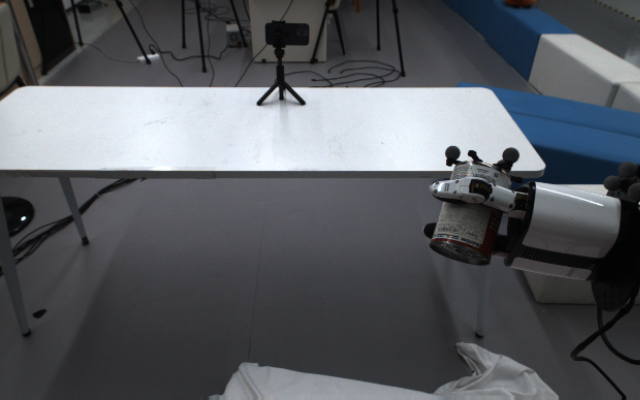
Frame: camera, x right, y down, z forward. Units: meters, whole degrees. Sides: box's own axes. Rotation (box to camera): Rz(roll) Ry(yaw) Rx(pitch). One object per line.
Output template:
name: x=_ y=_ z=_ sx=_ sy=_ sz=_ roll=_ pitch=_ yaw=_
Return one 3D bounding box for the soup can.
soup can: x=0.174 y=0.014 z=0.552 sx=0.067 sy=0.067 sz=0.101 roll=15 pitch=75 yaw=18
